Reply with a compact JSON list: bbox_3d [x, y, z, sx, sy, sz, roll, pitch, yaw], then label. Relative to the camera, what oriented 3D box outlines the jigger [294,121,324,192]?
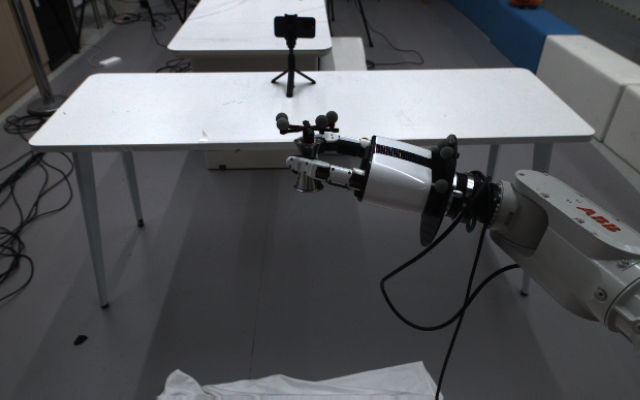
[{"bbox_3d":[-0.017,-0.050,0.676,0.043,0.071,0.043,0,21,0],"label":"jigger"}]
